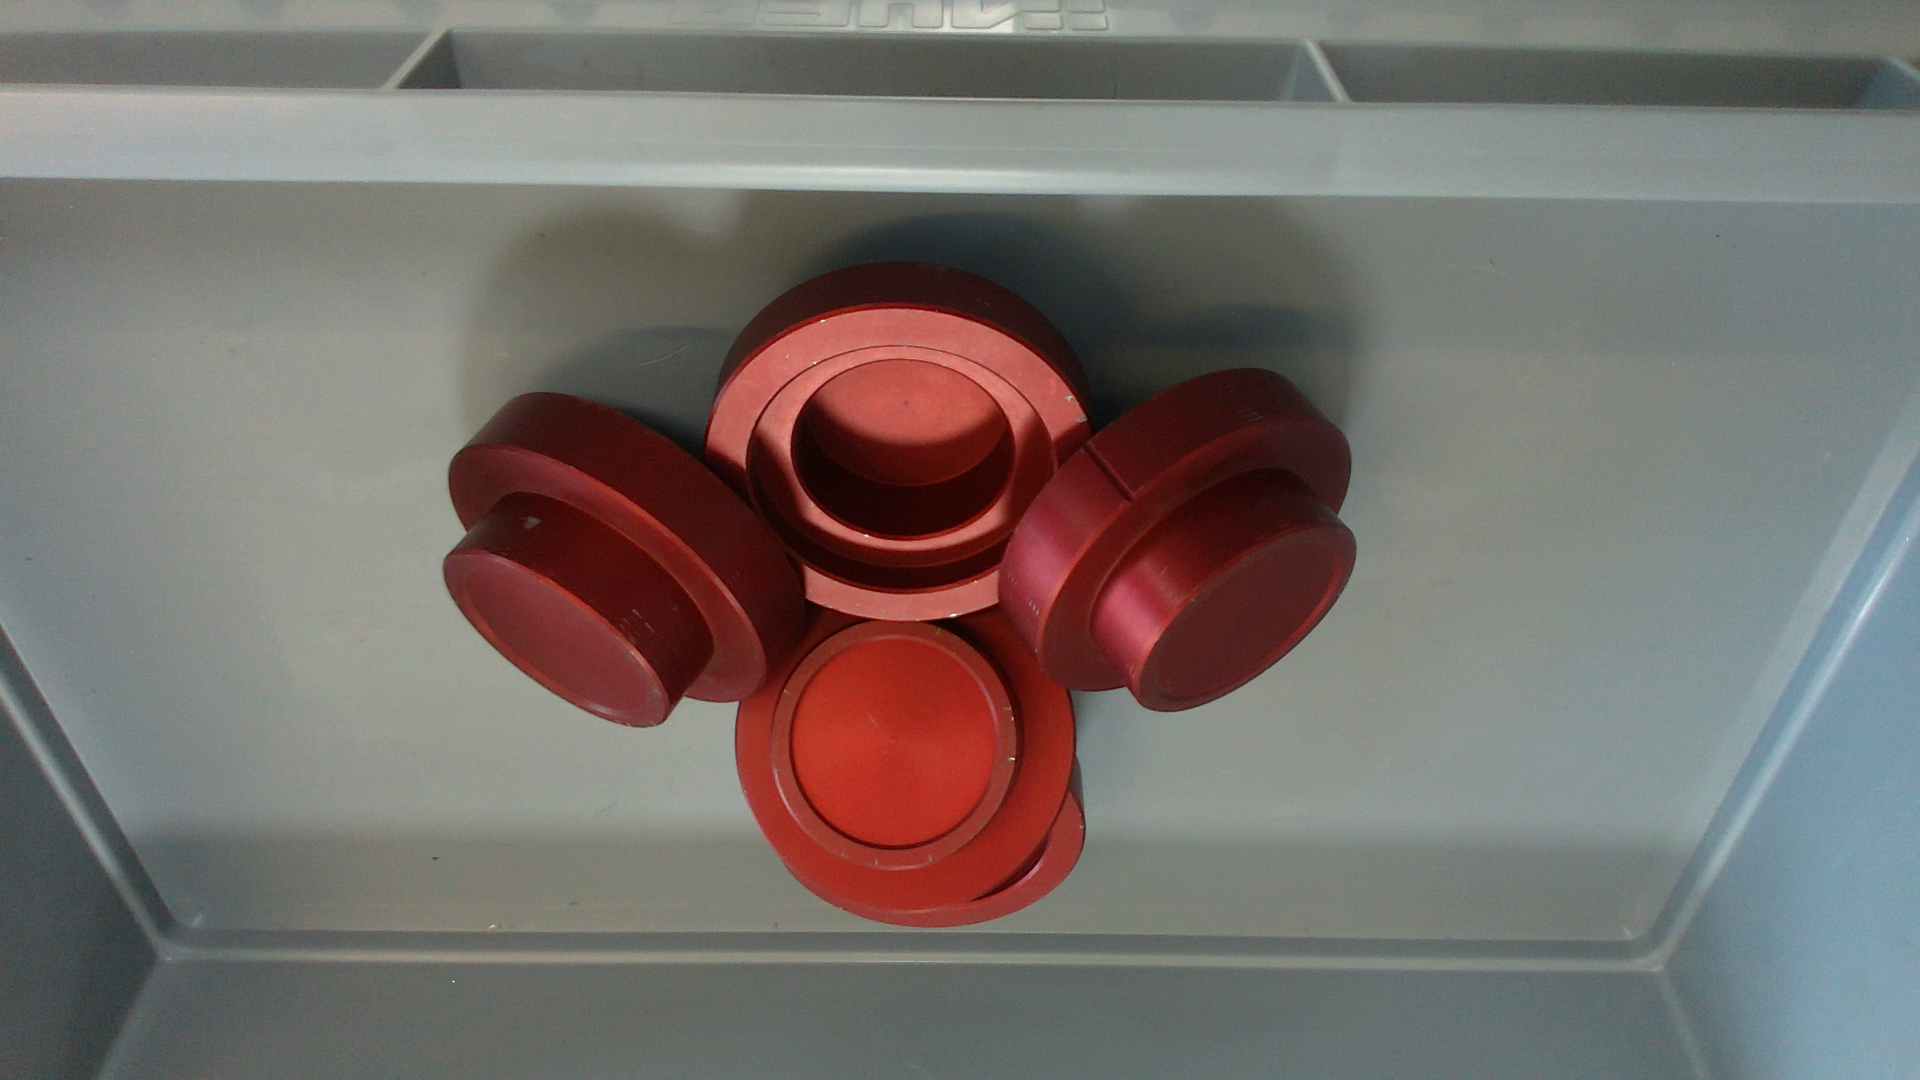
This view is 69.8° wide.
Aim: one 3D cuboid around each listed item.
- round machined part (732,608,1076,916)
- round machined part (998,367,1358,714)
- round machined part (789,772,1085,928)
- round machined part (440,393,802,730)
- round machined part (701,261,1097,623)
[{"bbox_3d":[-0.016,0.056,0.388,0.098,0.098,0.042,-5,174,4],"label":"round machined part"},{"bbox_3d":[0.062,0.007,0.354,0.098,0.042,0.098,-25,146,-18],"label":"round machined part"},{"bbox_3d":[-0.010,0.079,0.444,0.098,0.042,0.098,0,130,0],"label":"round machined part"},{"bbox_3d":[-0.094,0.012,0.359,0.098,0.042,0.098,22,146,16],"label":"round machined part"},{"bbox_3d":[-0.014,-0.028,0.353,0.098,0.042,0.098,0,130,0],"label":"round machined part"}]
